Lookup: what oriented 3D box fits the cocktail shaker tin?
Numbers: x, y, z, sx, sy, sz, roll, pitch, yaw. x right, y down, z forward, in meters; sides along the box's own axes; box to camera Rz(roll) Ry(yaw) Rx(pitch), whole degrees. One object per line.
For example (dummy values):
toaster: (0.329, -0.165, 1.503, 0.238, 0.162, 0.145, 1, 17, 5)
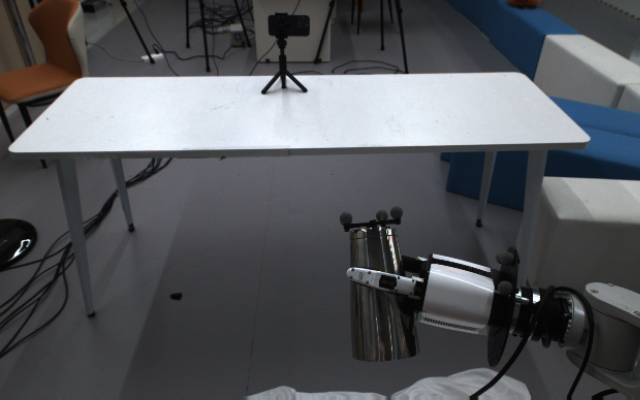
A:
cocktail shaker tin: (0.082, 0.125, 0.669, 0.093, 0.170, 0.093, -6, -7, -1)
